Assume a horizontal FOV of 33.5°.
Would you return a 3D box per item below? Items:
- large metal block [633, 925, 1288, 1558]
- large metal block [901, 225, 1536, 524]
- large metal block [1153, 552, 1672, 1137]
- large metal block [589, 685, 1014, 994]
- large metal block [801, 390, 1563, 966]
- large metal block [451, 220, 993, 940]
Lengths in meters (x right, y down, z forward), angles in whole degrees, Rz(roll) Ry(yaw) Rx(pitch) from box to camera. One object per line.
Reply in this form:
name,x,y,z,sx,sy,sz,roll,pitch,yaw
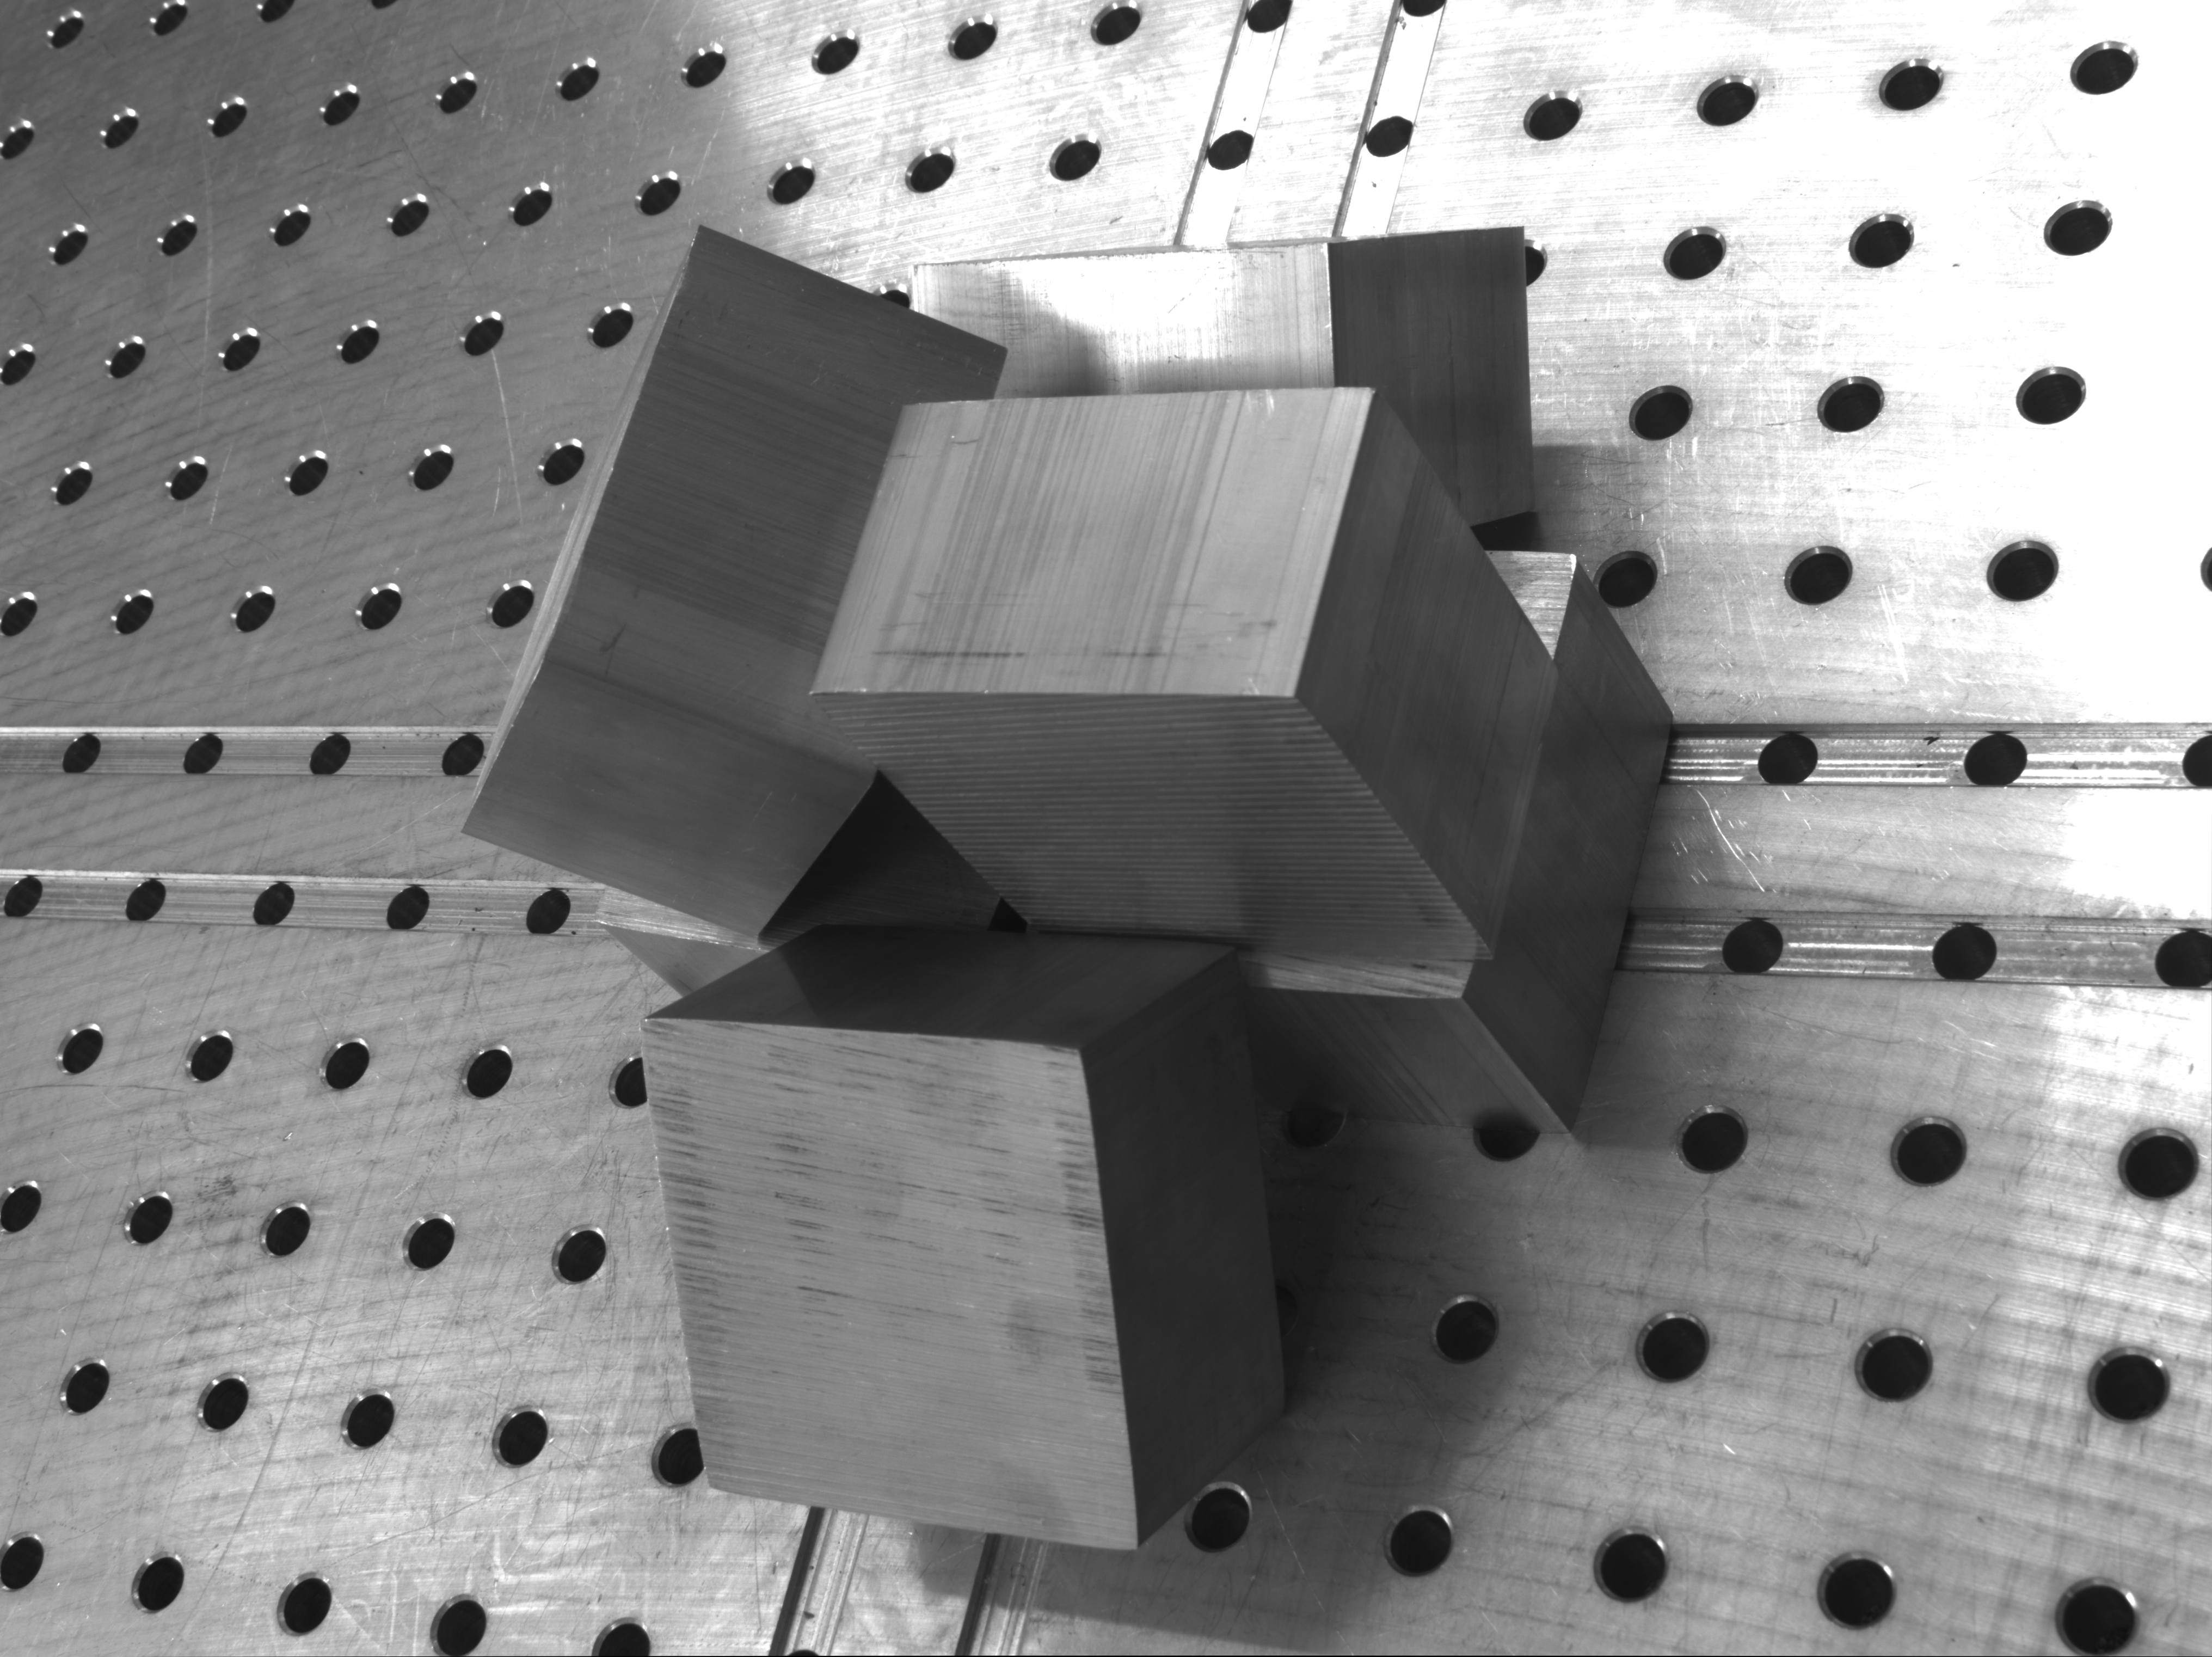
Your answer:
large metal block,-0.022,0.063,0.579,0.080,0.050,0.080,2,107,30
large metal block,0.021,-0.077,0.640,0.080,0.080,0.050,2,101,30
large metal block,0.040,0.001,0.610,0.080,0.050,0.080,3,63,30
large metal block,-0.033,-0.002,0.652,0.080,0.050,0.080,7,65,32
large metal block,0.014,-0.021,0.554,0.080,0.080,0.050,2,62,29
large metal block,-0.063,-0.038,0.595,0.050,0.080,0.080,21,66,-12
